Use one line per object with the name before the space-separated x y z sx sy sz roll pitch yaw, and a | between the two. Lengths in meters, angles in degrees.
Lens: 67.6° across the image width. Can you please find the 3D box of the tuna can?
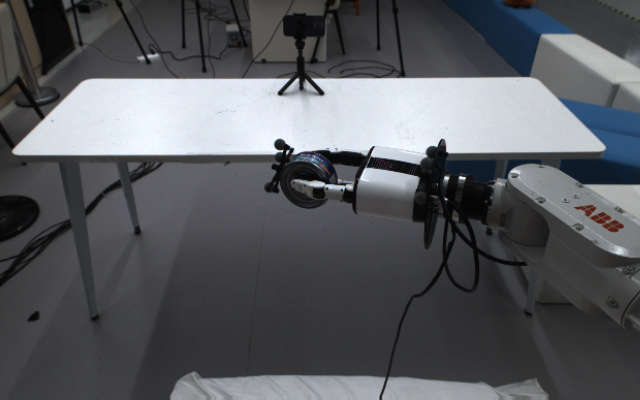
tuna can | -0.016 -0.027 0.746 0.085 0.085 0.034 12 30 14
